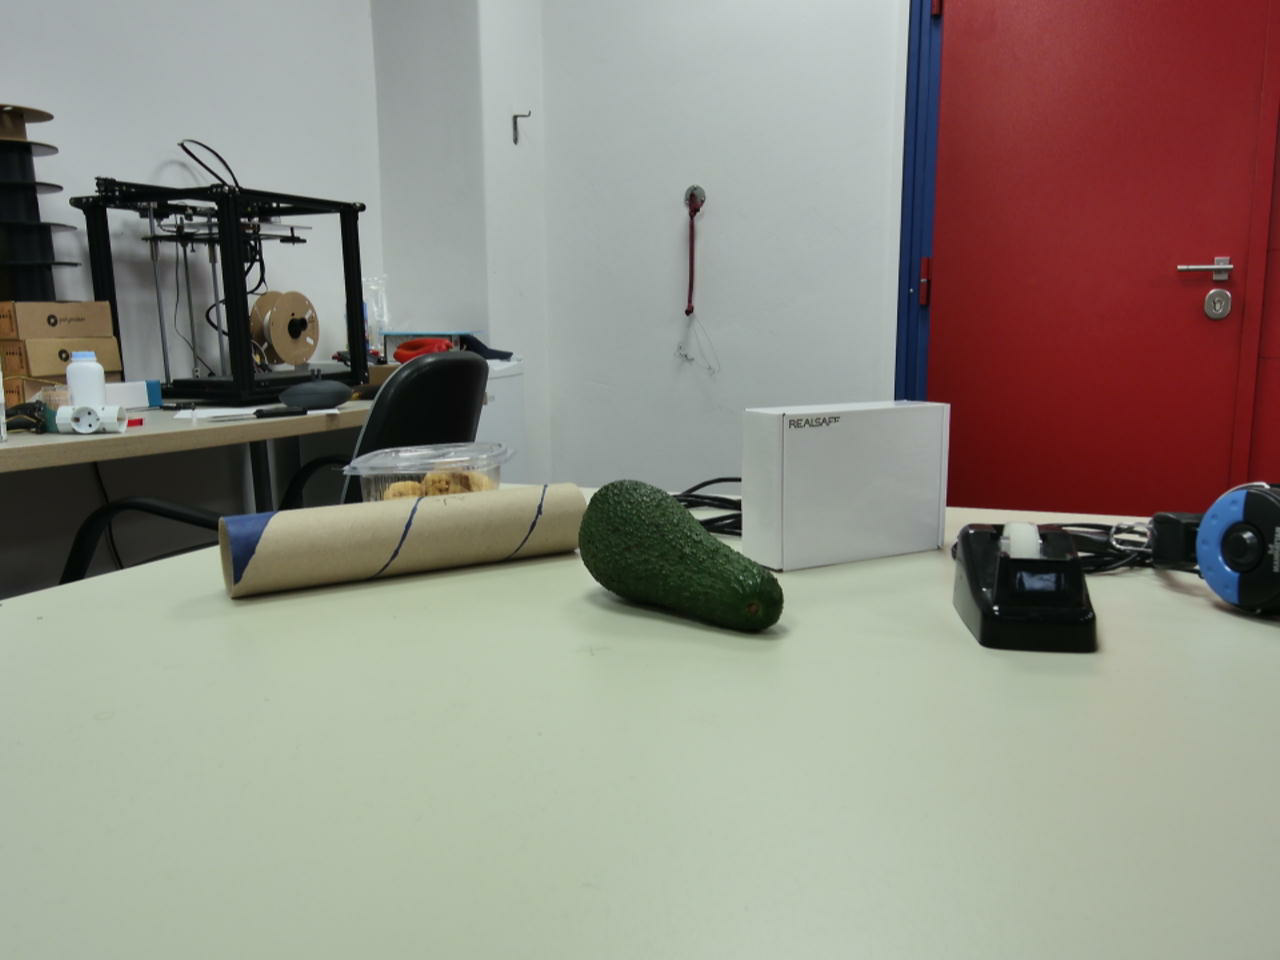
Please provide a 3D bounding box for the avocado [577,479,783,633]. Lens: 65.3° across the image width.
[{"bbox_3d":[0.023,0.036,0.529,0.141,0.067,0.063,5,7,39],"label":"avocado"}]
